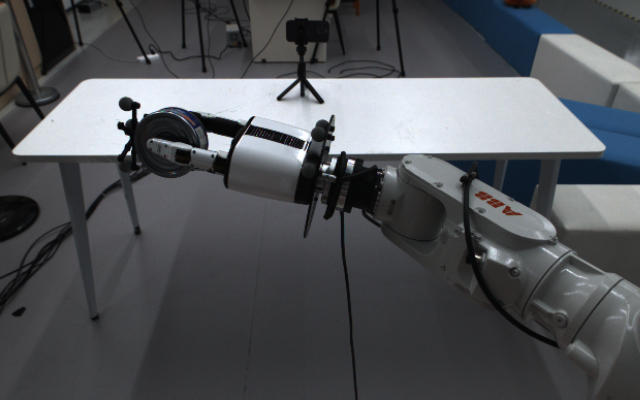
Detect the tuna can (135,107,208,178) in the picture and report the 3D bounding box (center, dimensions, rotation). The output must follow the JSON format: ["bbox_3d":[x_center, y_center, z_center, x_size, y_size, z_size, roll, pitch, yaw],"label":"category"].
[{"bbox_3d":[-0.184,-0.068,0.605,0.085,0.085,0.034,4,19,3],"label":"tuna can"}]
